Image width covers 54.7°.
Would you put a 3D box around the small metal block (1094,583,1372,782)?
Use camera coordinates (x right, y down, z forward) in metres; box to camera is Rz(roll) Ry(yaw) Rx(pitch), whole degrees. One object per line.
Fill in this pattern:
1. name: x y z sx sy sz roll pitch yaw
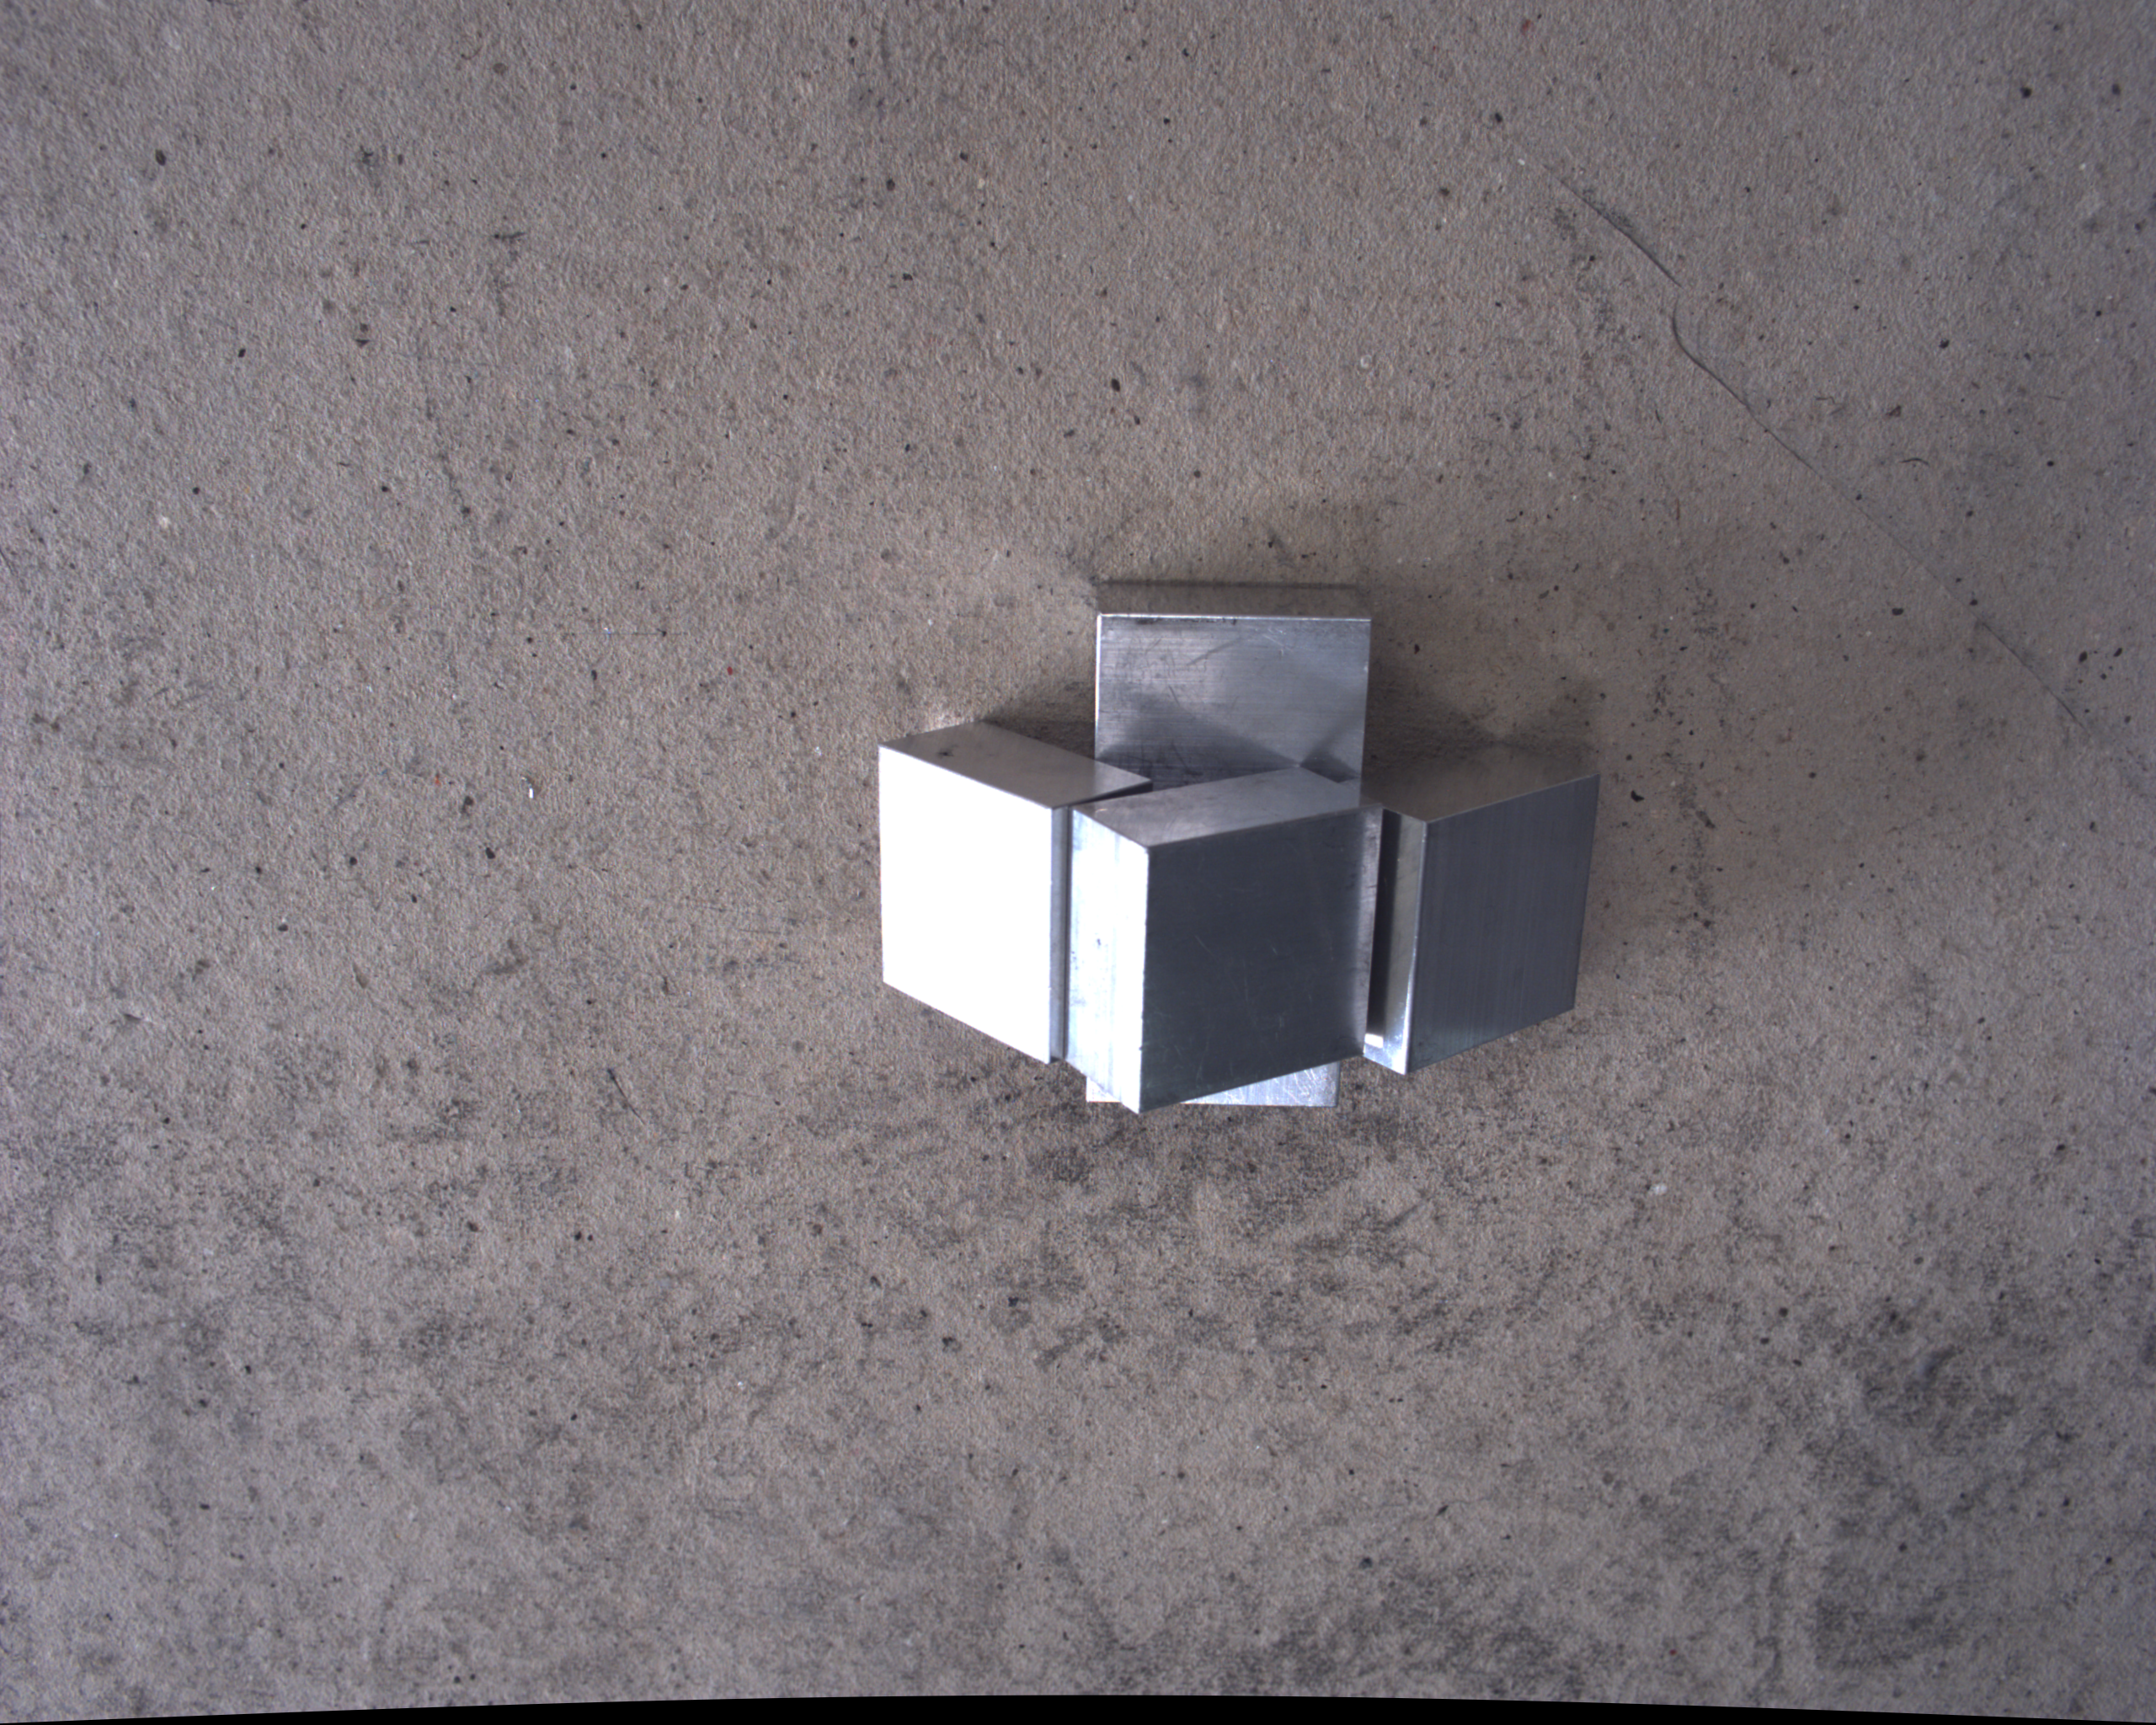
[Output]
1. small metal block: 0.028 -0.026 0.401 0.050 0.025 0.050 1 110 -1

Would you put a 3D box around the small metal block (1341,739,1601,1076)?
1. small metal block: 0.072 0.007 0.401 0.050 0.025 0.050 -15 116 -37

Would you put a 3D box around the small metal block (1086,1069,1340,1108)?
1. small metal block: 0.027 0.021 0.419 0.050 0.025 0.050 1 110 -1

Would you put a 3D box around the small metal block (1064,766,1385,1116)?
1. small metal block: 0.026 0.013 0.377 0.050 0.025 0.050 -11 114 -29

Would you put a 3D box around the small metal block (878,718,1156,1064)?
1. small metal block: -0.012 0.004 0.398 0.025 0.050 0.050 -17 117 -39
